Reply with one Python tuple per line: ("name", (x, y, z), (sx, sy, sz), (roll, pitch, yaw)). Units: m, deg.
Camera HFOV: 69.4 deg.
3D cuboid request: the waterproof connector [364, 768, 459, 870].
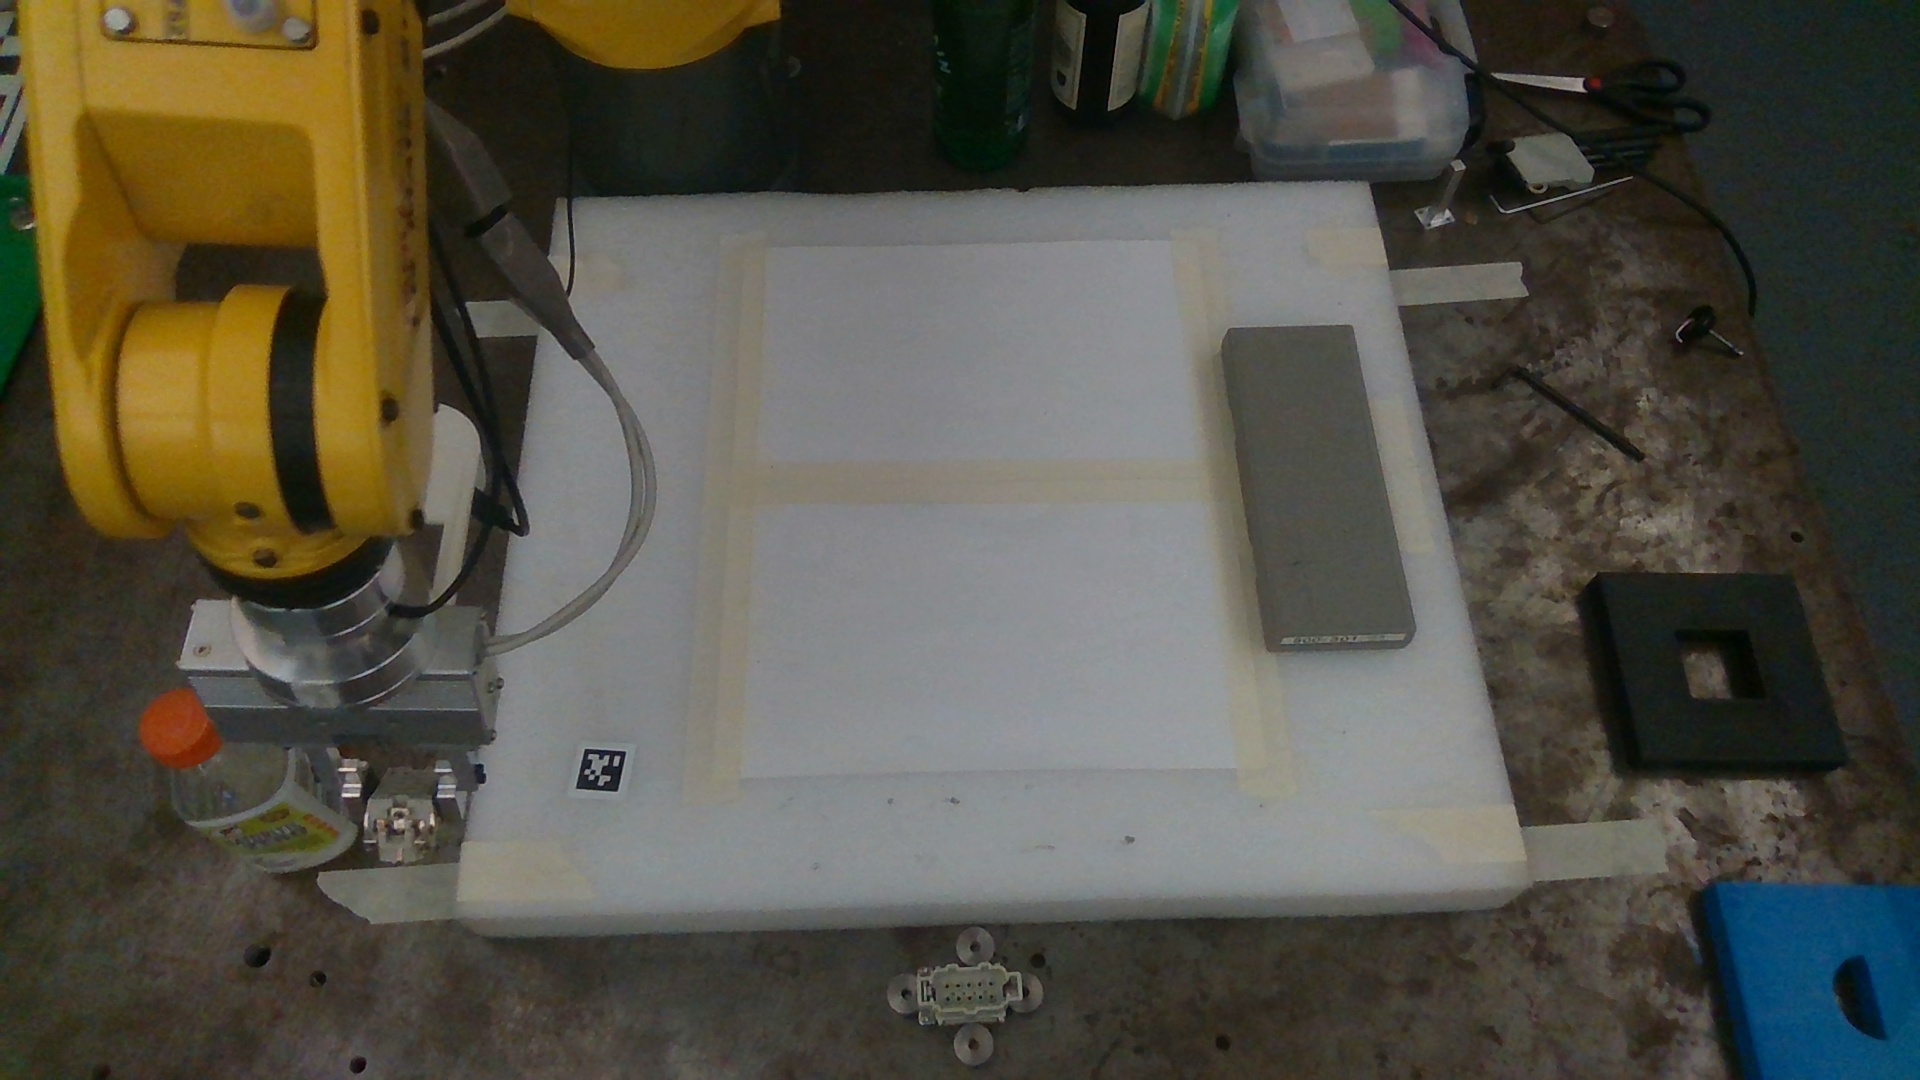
("waterproof connector", (-0.287, 0.145, 0.727), (0.036, 0.069, 0.038), (3, 99, -12))
